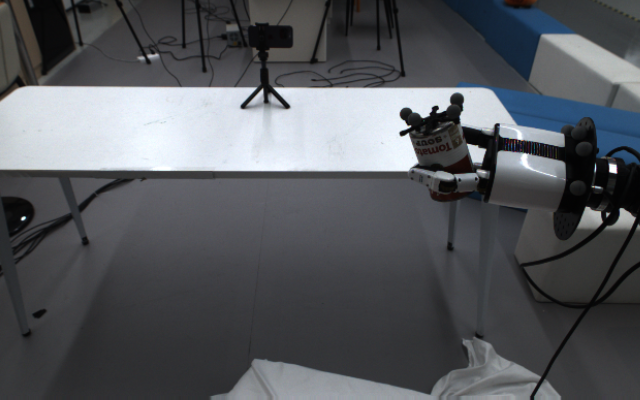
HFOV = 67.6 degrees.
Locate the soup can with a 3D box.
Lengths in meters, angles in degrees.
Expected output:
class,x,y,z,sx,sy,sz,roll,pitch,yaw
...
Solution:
class,x,y,z,sx,sy,sz,roll,pitch,yaw
soup can,0.167,-0.059,0.650,0.067,0.101,0.067,-21,24,10
